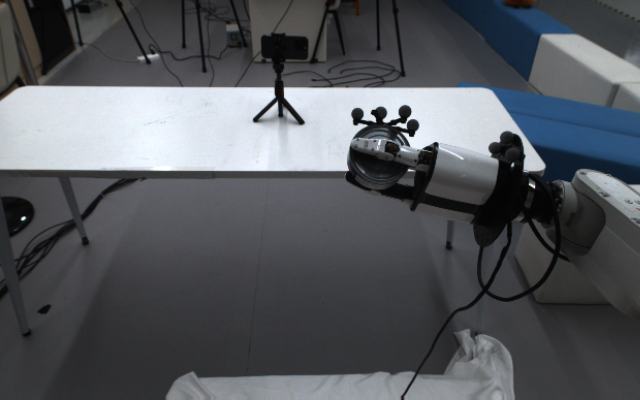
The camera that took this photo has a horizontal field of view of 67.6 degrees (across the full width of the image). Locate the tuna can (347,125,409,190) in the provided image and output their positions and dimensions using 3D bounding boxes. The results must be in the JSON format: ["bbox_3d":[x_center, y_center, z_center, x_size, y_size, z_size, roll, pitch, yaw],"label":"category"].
[{"bbox_3d":[0.081,-0.062,0.667,0.085,0.034,0.085,1,74,-3],"label":"tuna can"}]
